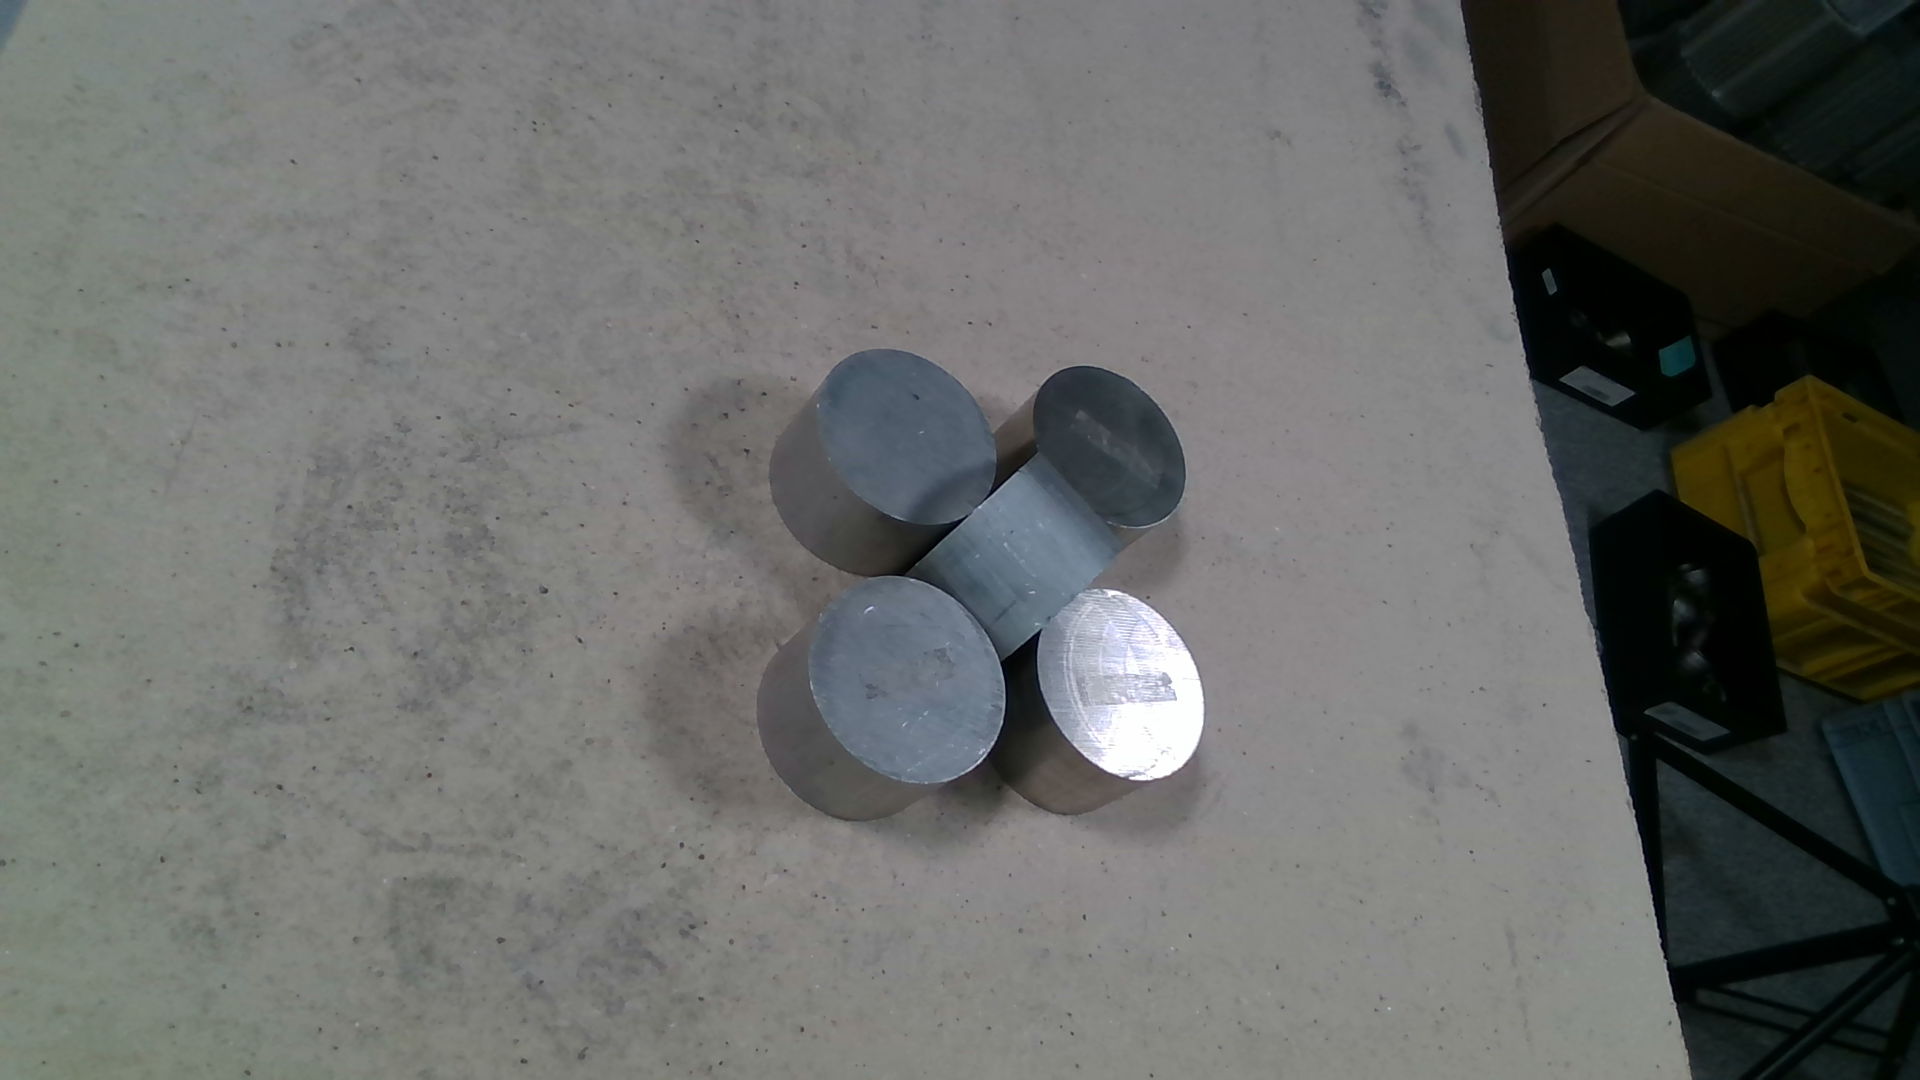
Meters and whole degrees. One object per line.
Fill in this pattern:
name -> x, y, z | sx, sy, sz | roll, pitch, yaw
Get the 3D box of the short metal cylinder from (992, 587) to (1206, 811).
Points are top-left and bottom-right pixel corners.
short metal cylinder -> 0.053, 0.066, 0.565 | 0.080, 0.050, 0.080 | 14, 59, -25

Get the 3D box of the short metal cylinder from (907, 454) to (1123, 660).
short metal cylinder -> 0.020, 0.010, 0.558 | 0.050, 0.080, 0.080 | 47, 51, -1

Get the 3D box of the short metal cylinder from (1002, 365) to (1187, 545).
short metal cylinder -> 0.055, -0.031, 0.619 | 0.080, 0.050, 0.080 | 14, 59, -25

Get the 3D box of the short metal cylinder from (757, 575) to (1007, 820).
short metal cylinder -> -0.030, 0.060, 0.518 | 0.080, 0.050, 0.080 | 14, 59, -25

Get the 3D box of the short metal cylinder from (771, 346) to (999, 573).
short metal cylinder -> -0.031, -0.032, 0.567 | 0.080, 0.050, 0.080 | 14, 59, -25
